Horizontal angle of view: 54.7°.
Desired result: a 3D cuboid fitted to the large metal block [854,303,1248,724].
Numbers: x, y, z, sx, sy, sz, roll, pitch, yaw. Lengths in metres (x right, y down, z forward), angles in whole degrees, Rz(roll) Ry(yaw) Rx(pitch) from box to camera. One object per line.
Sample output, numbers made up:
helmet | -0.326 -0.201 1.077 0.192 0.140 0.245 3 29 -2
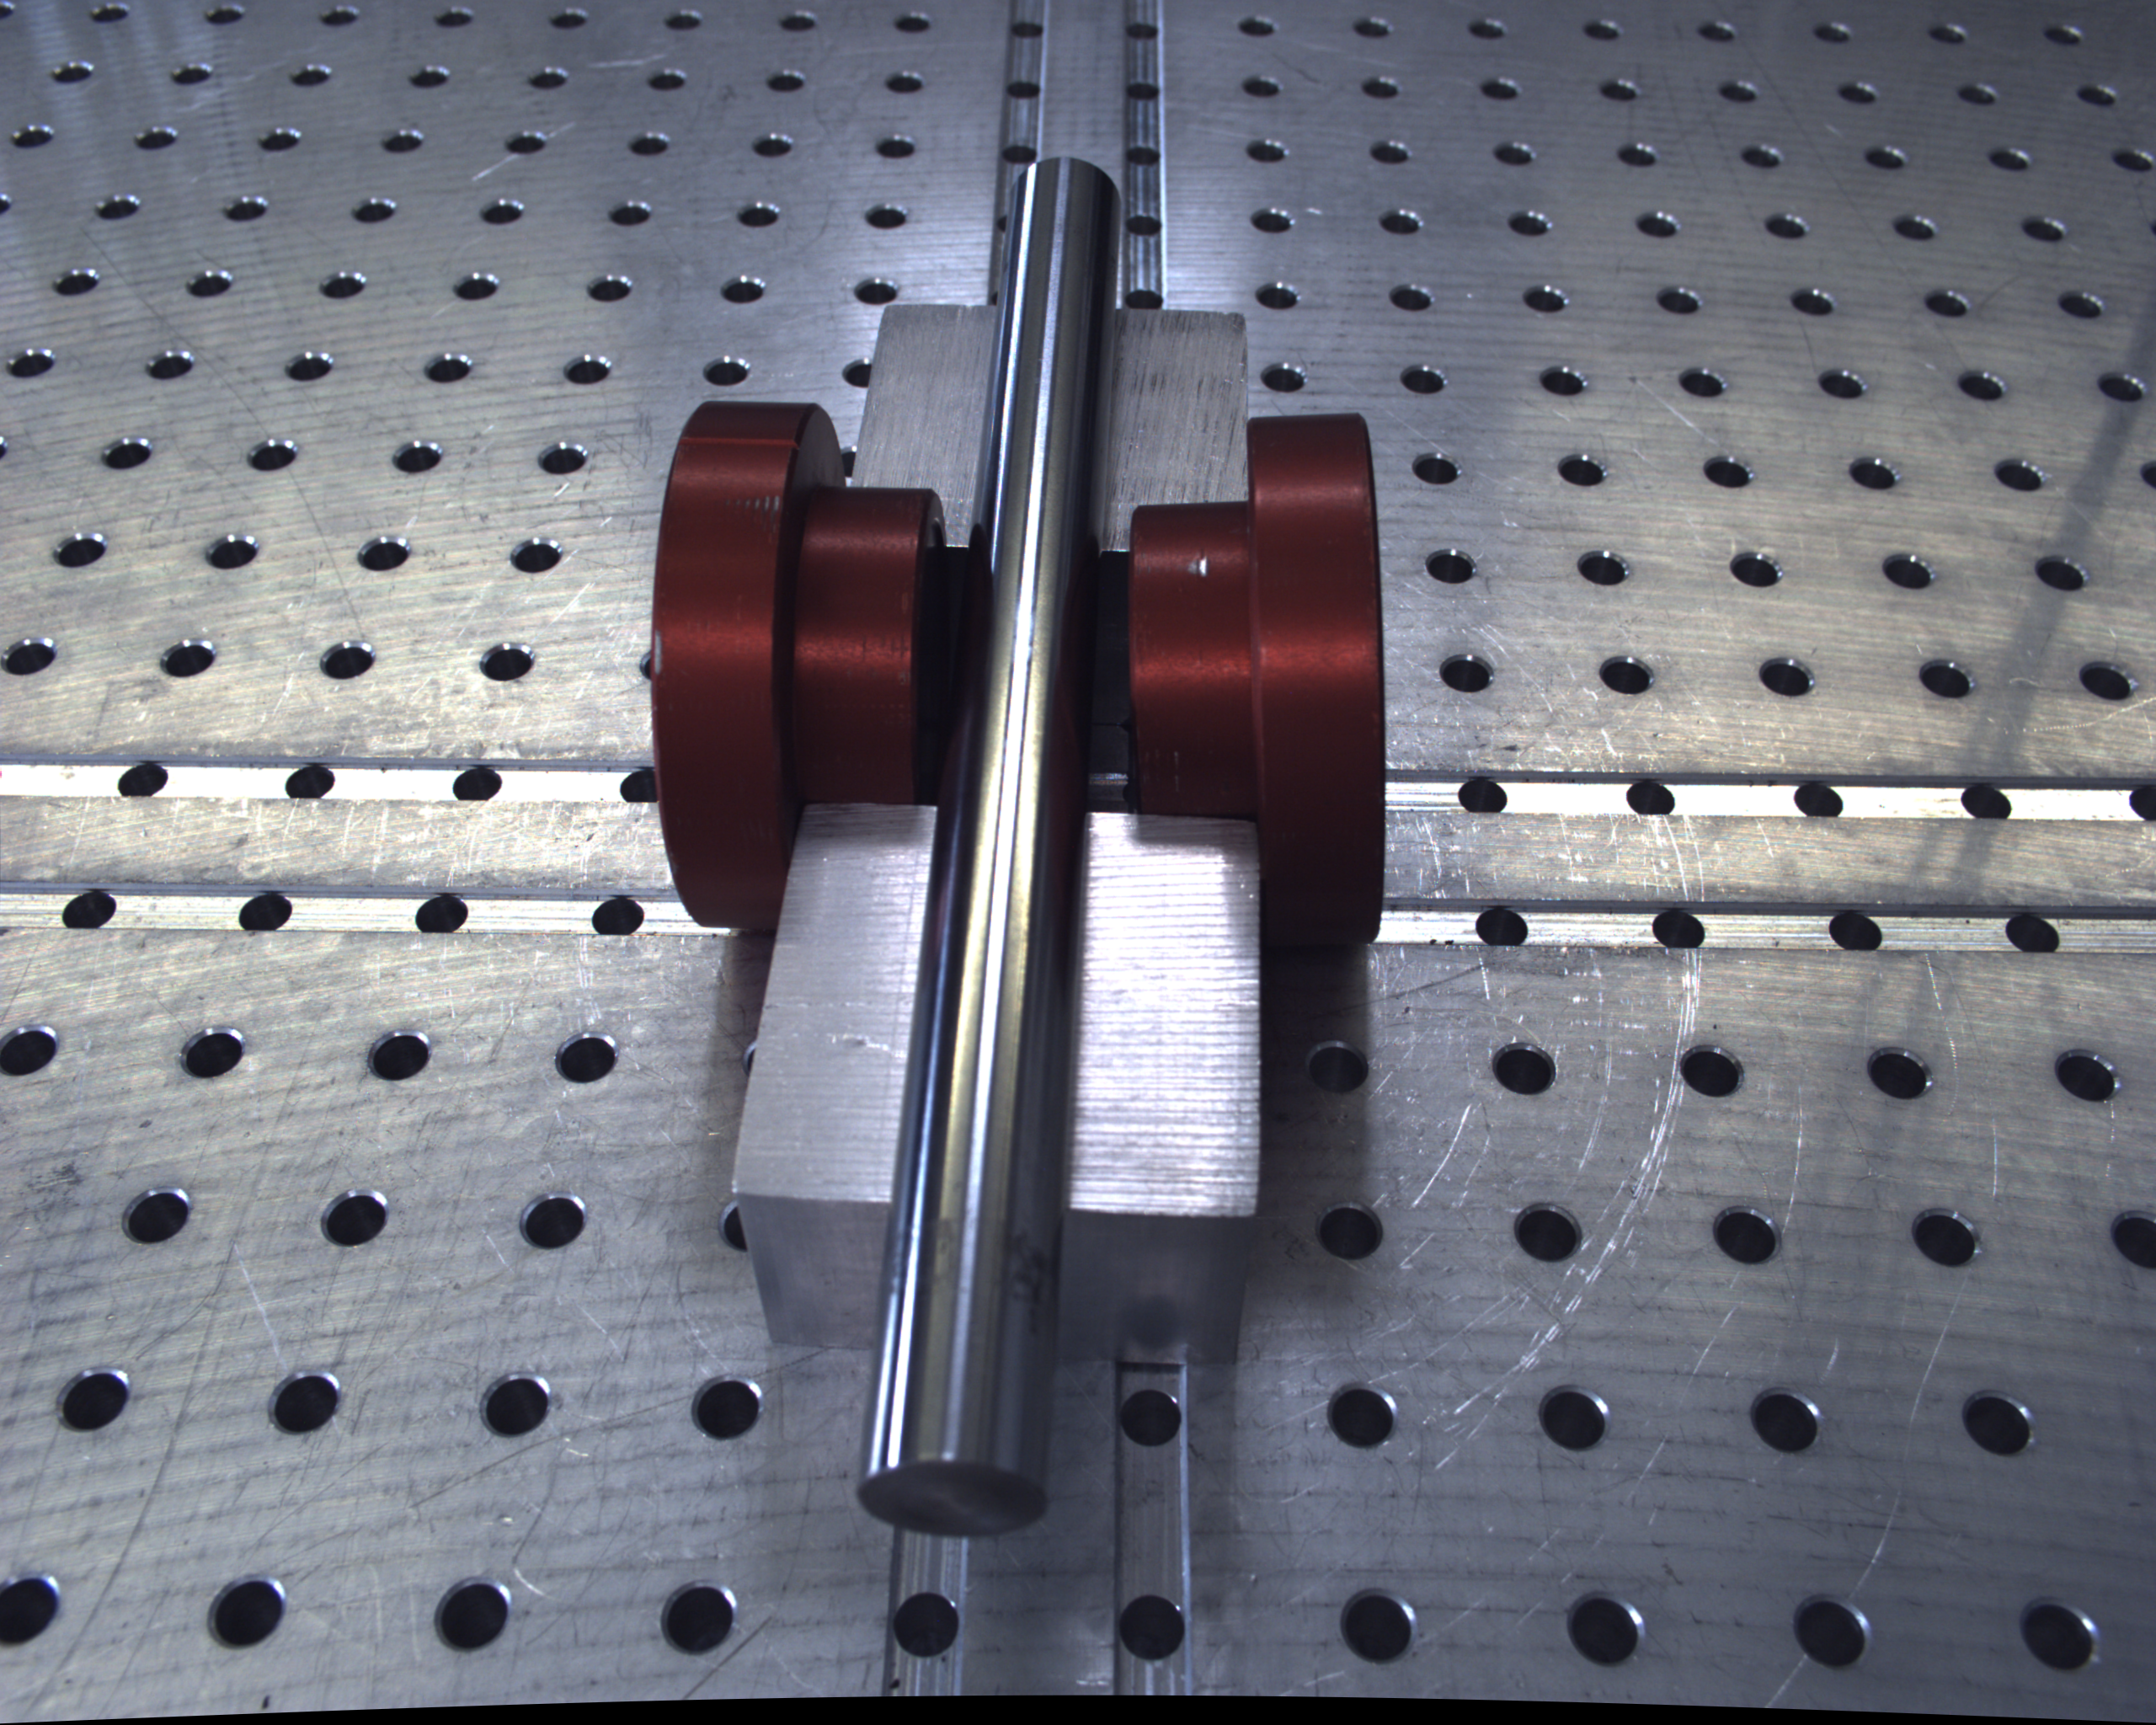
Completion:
large metal block | -0.005 -0.076 0.455 0.080 0.050 0.080 2 50 1

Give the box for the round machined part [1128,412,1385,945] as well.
round machined part | 0.033 -0.033 0.388 0.042 0.098 0.098 -2 50 5

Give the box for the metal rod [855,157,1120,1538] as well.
metal rod | -0.010 -0.031 0.369 0.025 0.025 0.300 2 50 2

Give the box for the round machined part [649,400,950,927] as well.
round machined part | -0.048 -0.036 0.389 0.042 0.097 0.098 1 50 1

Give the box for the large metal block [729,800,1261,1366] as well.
large metal block | -0.011 0.037 0.360 0.080 0.050 0.080 2 50 2
